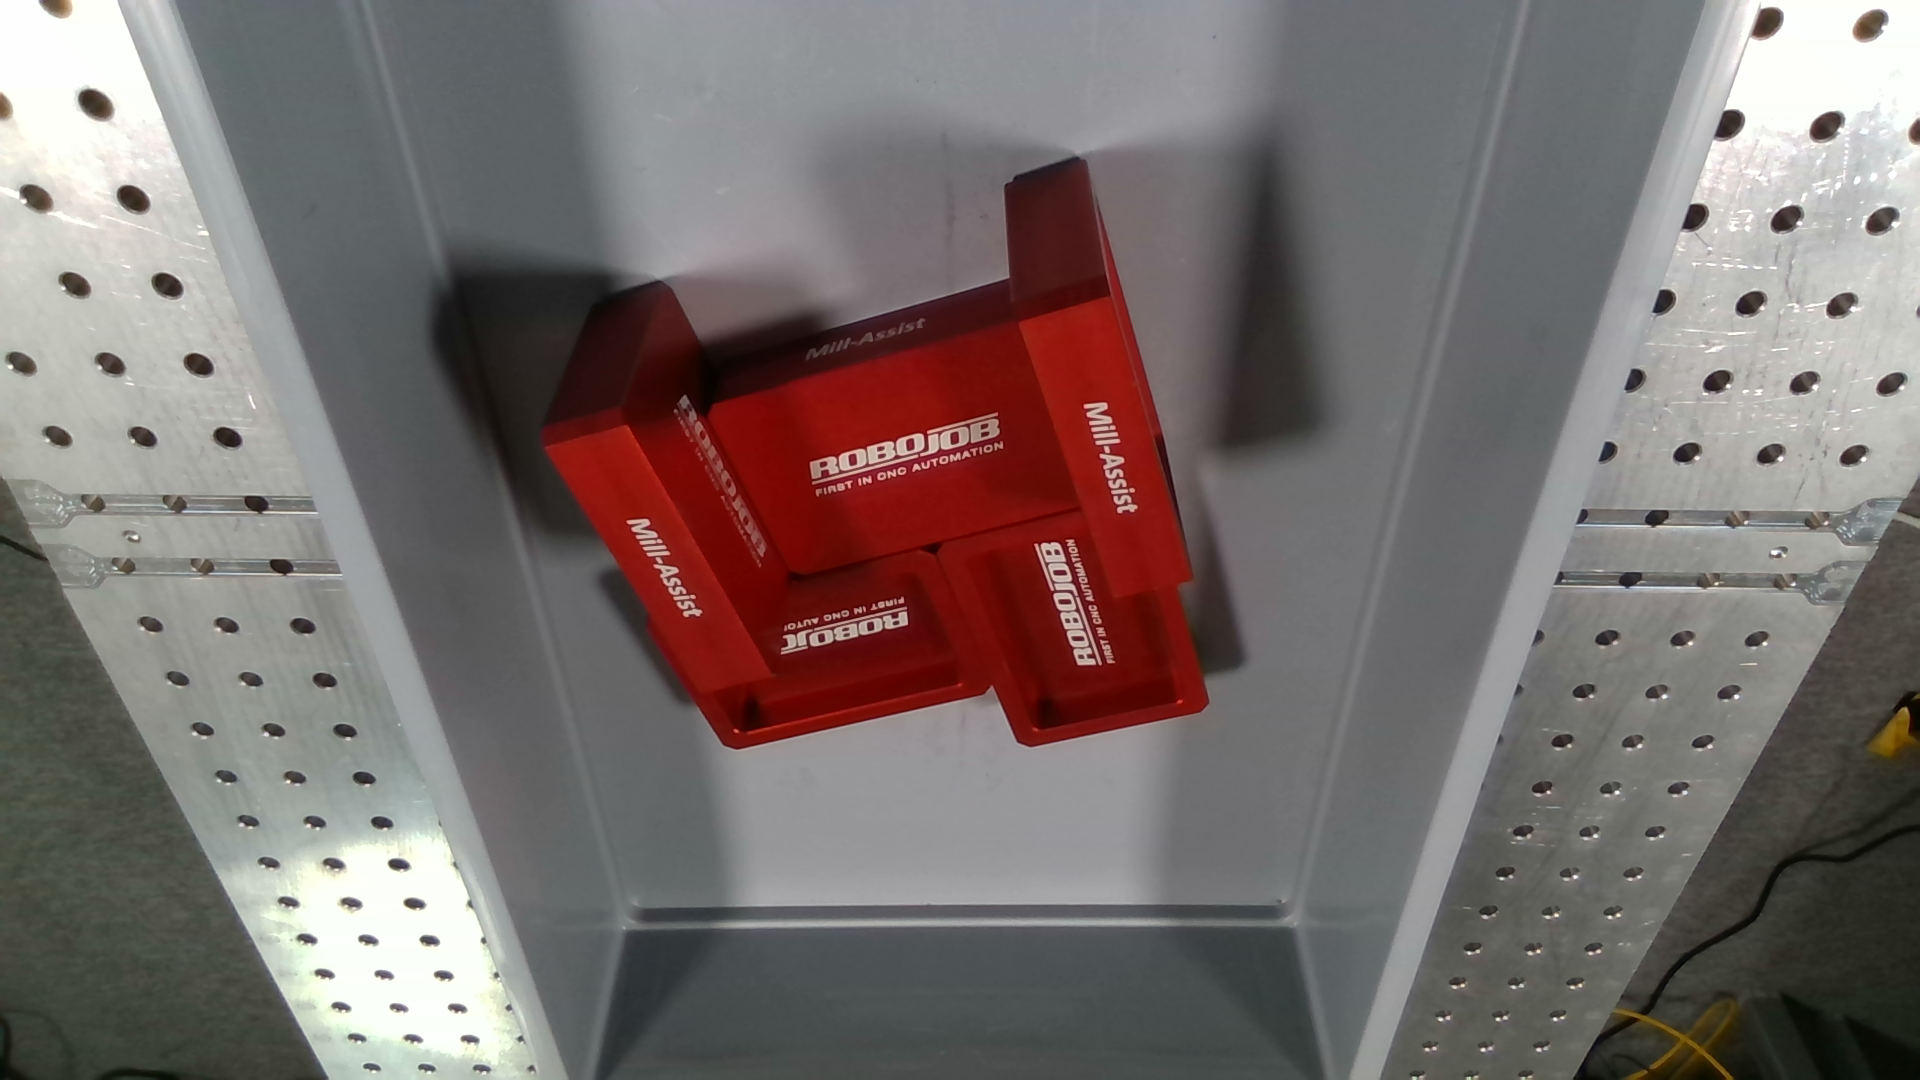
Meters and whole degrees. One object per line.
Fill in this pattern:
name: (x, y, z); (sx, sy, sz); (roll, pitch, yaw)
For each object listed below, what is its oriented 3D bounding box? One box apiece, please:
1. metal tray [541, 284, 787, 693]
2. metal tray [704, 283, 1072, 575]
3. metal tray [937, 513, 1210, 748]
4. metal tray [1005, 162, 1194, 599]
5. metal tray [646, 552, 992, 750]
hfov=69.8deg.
metal tray: (-0.104, -0.018, 0.519); (0.030, 0.090, 0.130); (-13, 129, 11)
metal tray: (-0.022, -0.041, 0.538); (0.130, 0.030, 0.090); (-14, 129, 11)
metal tray: (0.051, 0.031, 0.600); (0.090, 0.030, 0.130); (-13, 129, 11)
metal tray: (0.050, -0.055, 0.487); (0.030, 0.090, 0.130); (-14, 129, 12)
metal tray: (-0.060, 0.042, 0.609); (0.130, 0.030, 0.090); (-14, 129, 11)
